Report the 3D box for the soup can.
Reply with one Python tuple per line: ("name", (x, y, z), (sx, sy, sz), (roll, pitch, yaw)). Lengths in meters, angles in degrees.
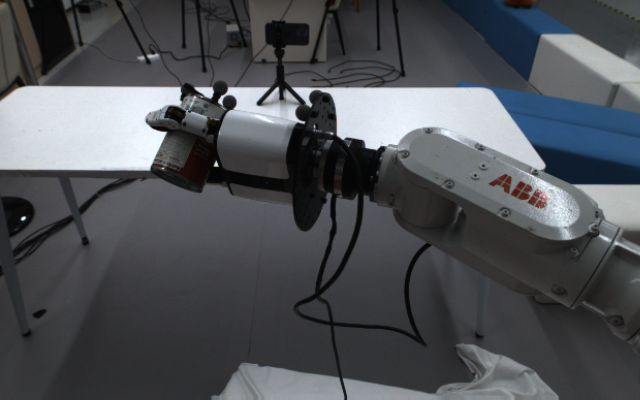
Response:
("soup can", (-0.154, -0.068, 0.590), (0.067, 0.067, 0.101), (16, 75, 19))
